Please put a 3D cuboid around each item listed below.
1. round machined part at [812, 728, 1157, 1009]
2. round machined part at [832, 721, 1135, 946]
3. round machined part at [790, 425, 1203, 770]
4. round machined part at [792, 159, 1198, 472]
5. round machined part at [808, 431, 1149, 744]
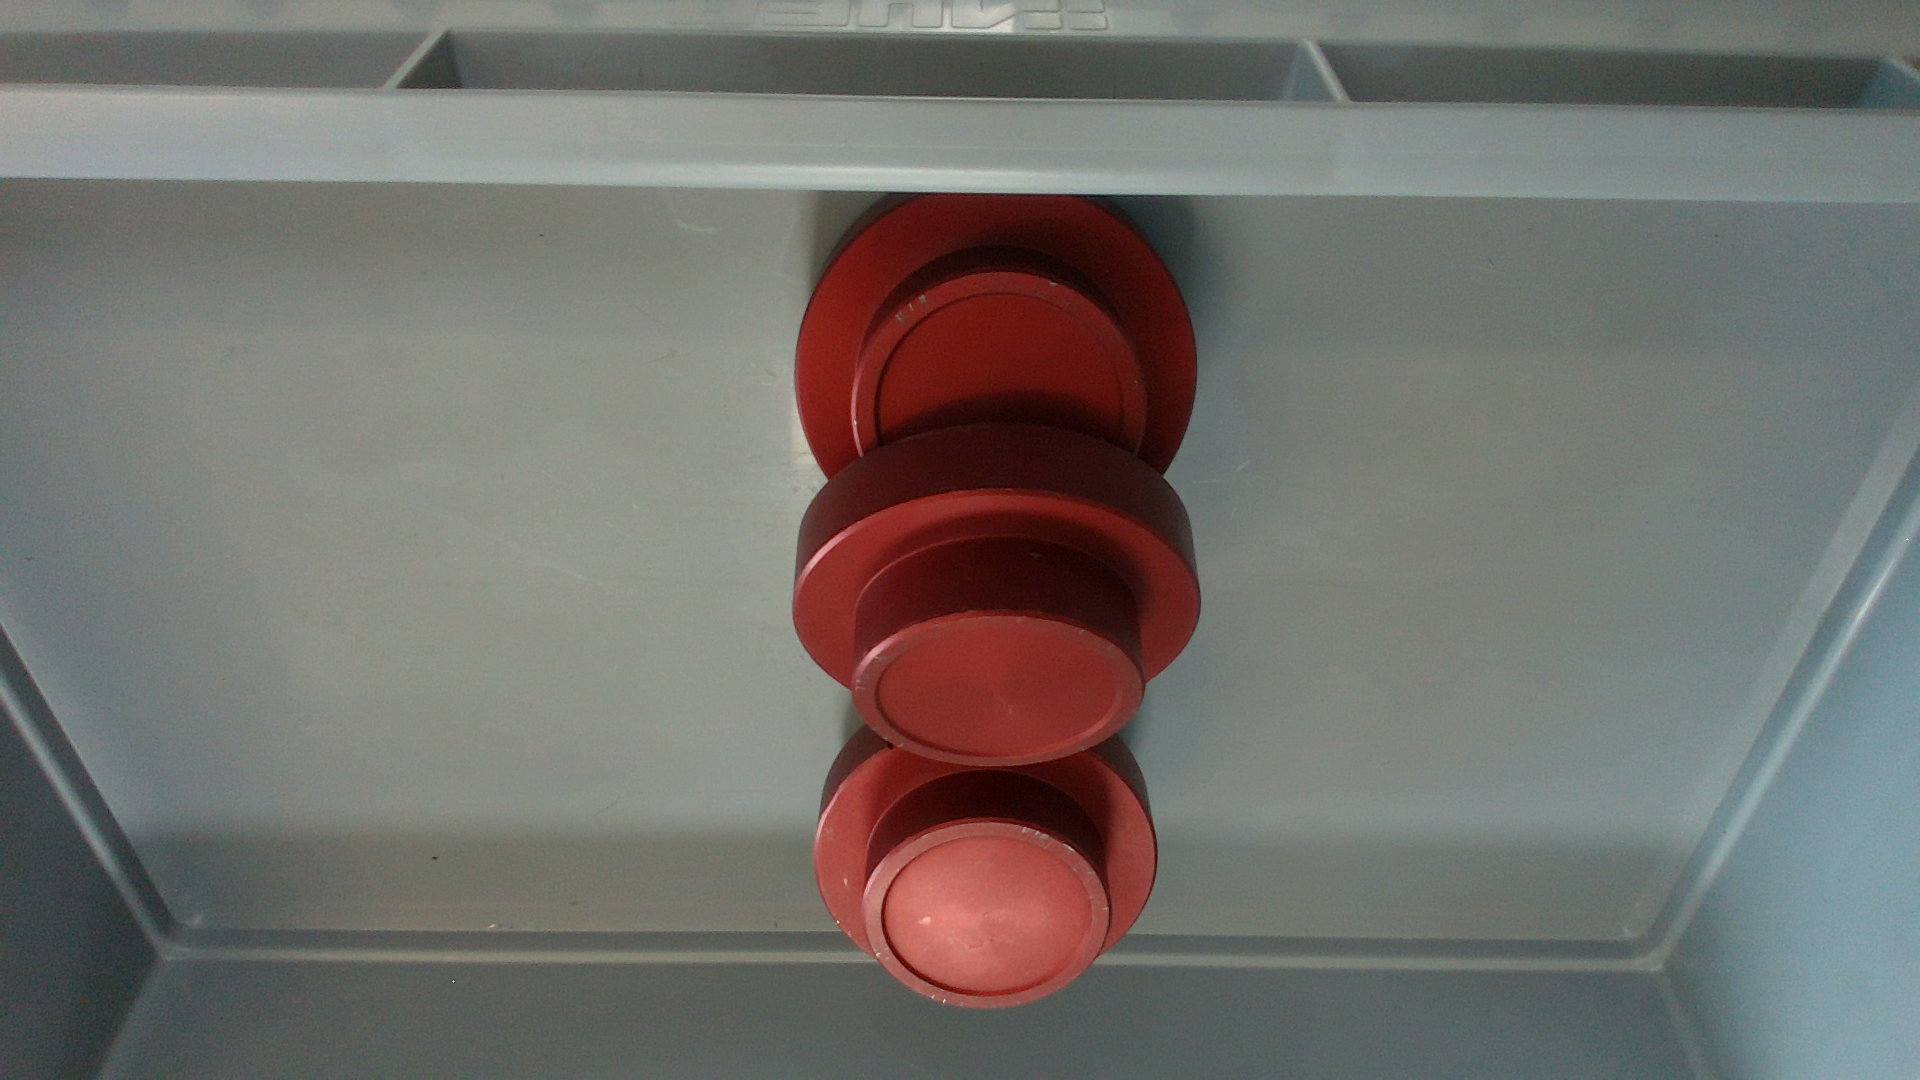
[{"bbox_3d":[0.007,0.093,0.390,0.098,0.042,0.098,0,119,0],"label":"round machined part"},{"bbox_3d":[0.008,0.100,0.444,0.098,0.042,0.098,0,145,0],"label":"round machined part"},{"bbox_3d":[0.009,0.020,0.328,0.098,0.042,0.098,0,143,0],"label":"round machined part"},{"bbox_3d":[0.008,-0.038,0.331,0.098,0.042,0.098,0,114,0],"label":"round machined part"},{"bbox_3d":[0.005,0.021,0.395,0.098,0.042,0.098,0,129,0],"label":"round machined part"}]
